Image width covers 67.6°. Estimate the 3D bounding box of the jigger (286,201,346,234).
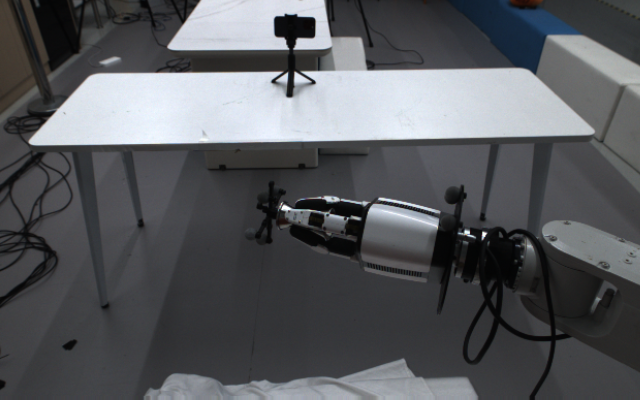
[{"bbox_3d":[-0.012,0.021,0.630,0.071,0.043,0.043,10,35,16],"label":"jigger"}]
